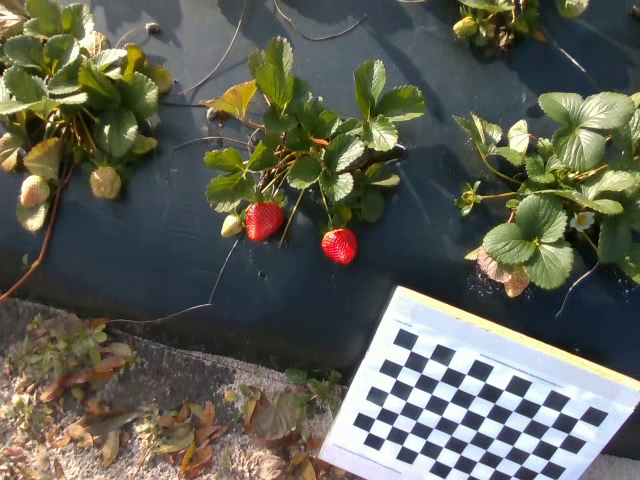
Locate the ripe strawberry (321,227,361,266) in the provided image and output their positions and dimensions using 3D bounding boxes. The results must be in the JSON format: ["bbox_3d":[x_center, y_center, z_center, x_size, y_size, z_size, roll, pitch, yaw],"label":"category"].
[{"bbox_3d":[0.016,0.007,0.469,0.034,0.039,0.037,20,-50,-17],"label":"ripe strawberry"}]

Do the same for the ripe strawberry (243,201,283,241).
[{"bbox_3d":[-0.050,-0.015,0.472,0.035,0.036,0.041,10,-40,14],"label":"ripe strawberry"}]
